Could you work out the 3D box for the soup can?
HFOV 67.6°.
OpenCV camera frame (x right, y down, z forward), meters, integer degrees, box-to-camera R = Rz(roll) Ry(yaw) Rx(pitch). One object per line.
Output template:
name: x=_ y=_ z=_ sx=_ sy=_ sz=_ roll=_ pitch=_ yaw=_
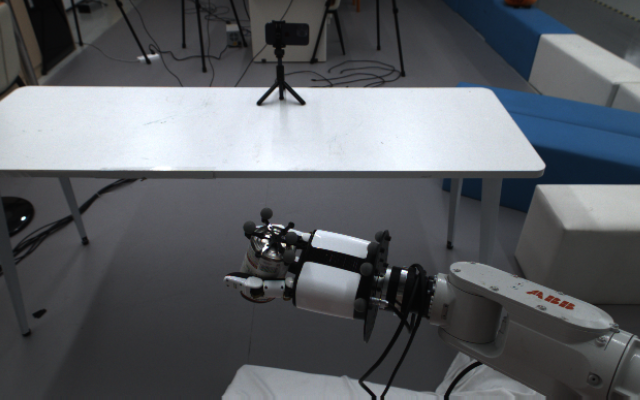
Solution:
soup can: x=-0.078 y=0.096 z=0.708 sx=0.067 sy=0.101 sz=0.067 roll=14 pitch=40 yaw=-12
